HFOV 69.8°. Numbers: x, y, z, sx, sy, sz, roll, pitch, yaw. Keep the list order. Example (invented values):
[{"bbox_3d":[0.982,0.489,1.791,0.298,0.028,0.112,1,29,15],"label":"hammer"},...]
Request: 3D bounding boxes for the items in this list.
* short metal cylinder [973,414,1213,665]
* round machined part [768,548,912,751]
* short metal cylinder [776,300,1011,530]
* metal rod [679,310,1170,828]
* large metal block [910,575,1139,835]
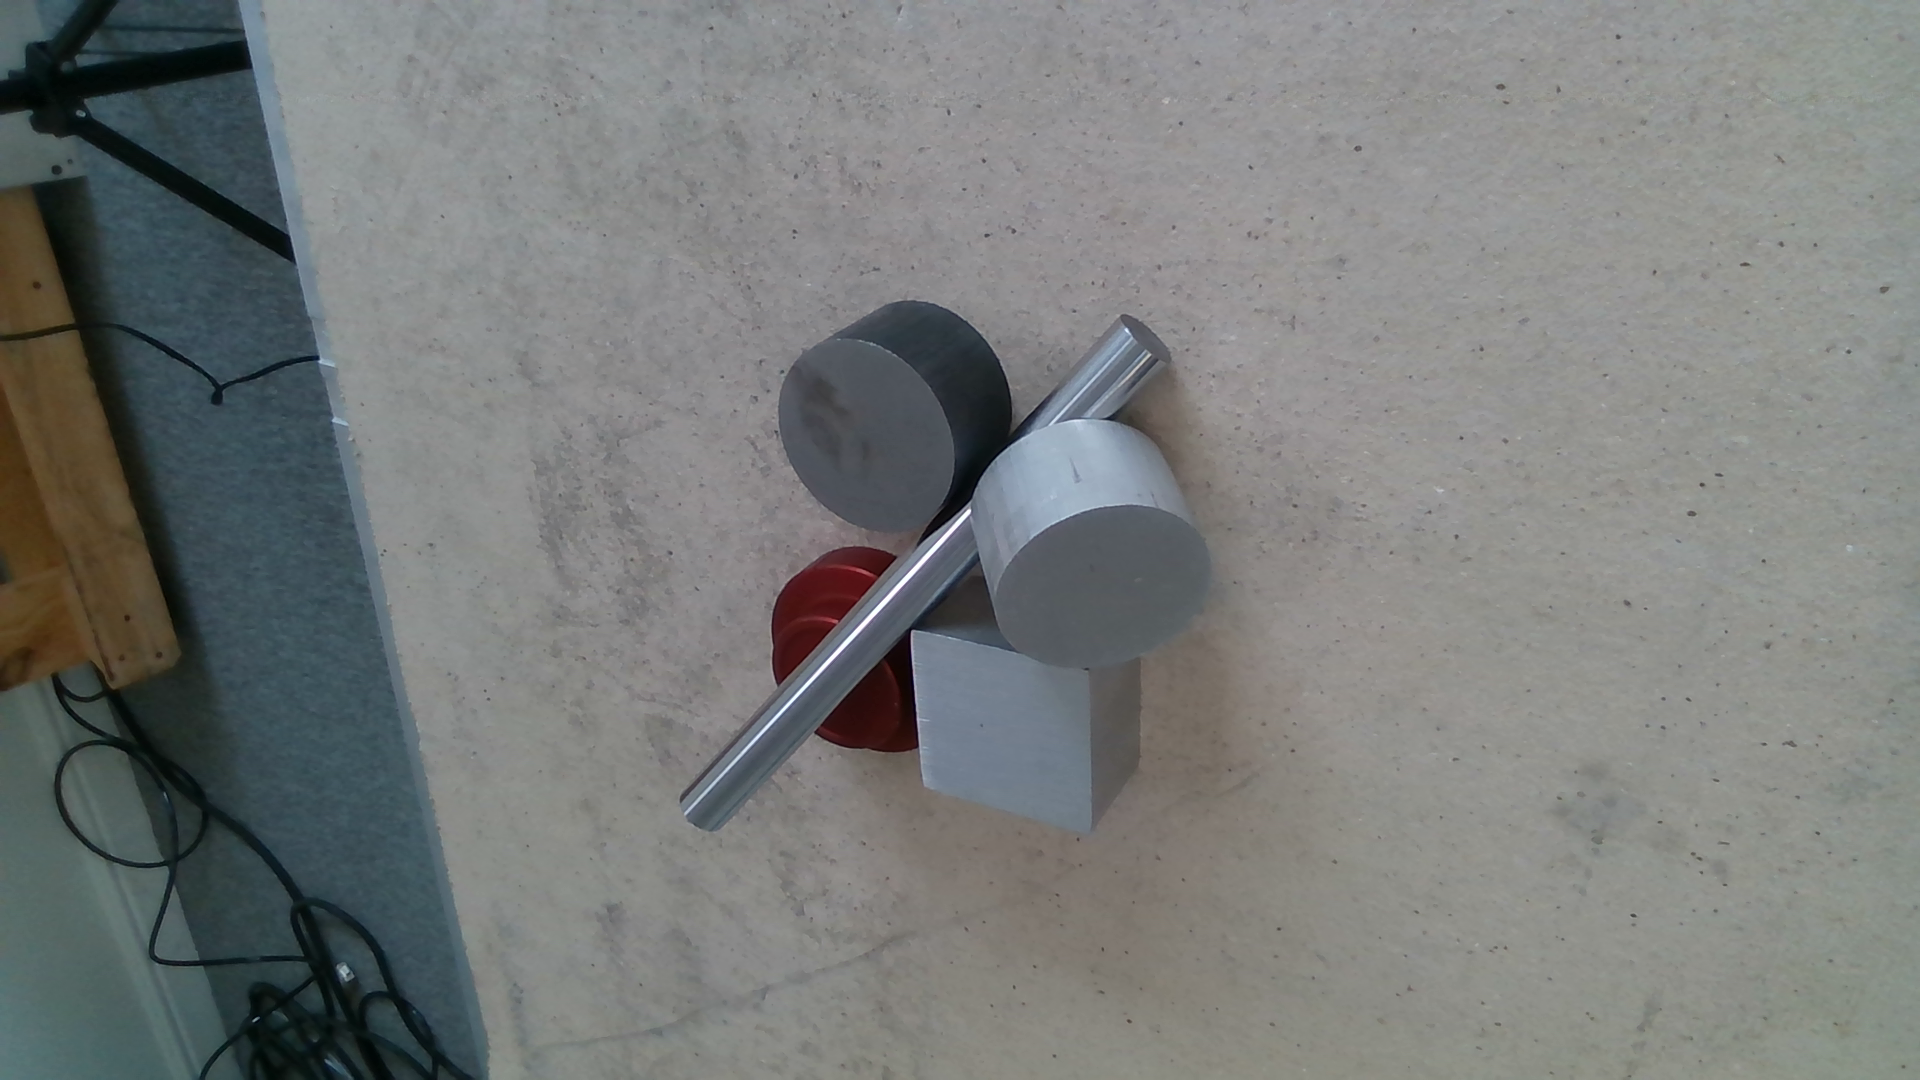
[{"bbox_3d":[0.048,0.001,0.511,0.080,0.050,0.080,-6,132,-7],"label":"short metal cylinder"},{"bbox_3d":[-0.048,0.055,0.628,0.098,0.042,0.098,14,122,25],"label":"round machined part"},{"bbox_3d":[-0.026,-0.051,0.554,0.080,0.050,0.080,14,122,25],"label":"short metal cylinder"},{"bbox_3d":[-0.026,0.024,0.565,0.025,0.025,0.301,45,116,3],"label":"metal rod"},{"bbox_3d":[0.029,0.068,0.581,0.080,0.050,0.080,11,120,26],"label":"large metal block"}]
